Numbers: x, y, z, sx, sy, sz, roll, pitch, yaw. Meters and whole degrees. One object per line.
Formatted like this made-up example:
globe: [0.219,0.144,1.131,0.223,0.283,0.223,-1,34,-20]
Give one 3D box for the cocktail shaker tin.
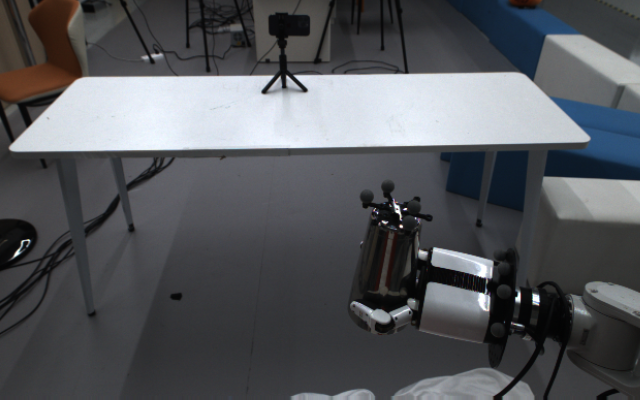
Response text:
cocktail shaker tin: [0.091,0.090,0.656,0.093,0.170,0.093,3,34,-2]
